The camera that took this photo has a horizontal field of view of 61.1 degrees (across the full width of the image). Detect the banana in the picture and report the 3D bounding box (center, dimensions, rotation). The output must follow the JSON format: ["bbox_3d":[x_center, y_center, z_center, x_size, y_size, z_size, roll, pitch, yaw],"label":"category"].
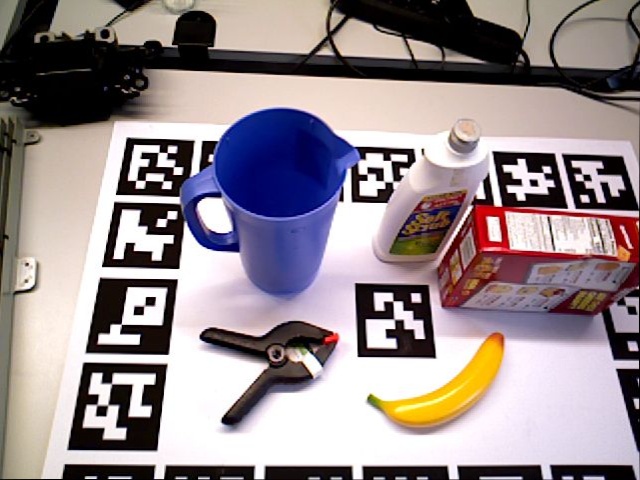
[{"bbox_3d":[0.158,0.178,0.665,0.194,0.039,0.074,-29,67,-18],"label":"banana"}]

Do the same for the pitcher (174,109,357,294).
[{"bbox_3d":[-0.061,-0.033,0.611,0.186,0.248,0.132,-14,62,-15],"label":"pitcher"}]

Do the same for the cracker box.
[{"bbox_3d":[0.274,0.034,0.652,0.212,0.167,0.071,3,58,-1],"label":"cracker box"}]

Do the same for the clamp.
[{"bbox_3d":[-0.060,0.145,0.659,0.163,0.037,0.121,-12,62,-12],"label":"clamp"}]

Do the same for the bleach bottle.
[{"bbox_3d":[0.123,-0.051,0.656,0.102,0.256,0.067,2,60,-3],"label":"bleach bottle"}]
